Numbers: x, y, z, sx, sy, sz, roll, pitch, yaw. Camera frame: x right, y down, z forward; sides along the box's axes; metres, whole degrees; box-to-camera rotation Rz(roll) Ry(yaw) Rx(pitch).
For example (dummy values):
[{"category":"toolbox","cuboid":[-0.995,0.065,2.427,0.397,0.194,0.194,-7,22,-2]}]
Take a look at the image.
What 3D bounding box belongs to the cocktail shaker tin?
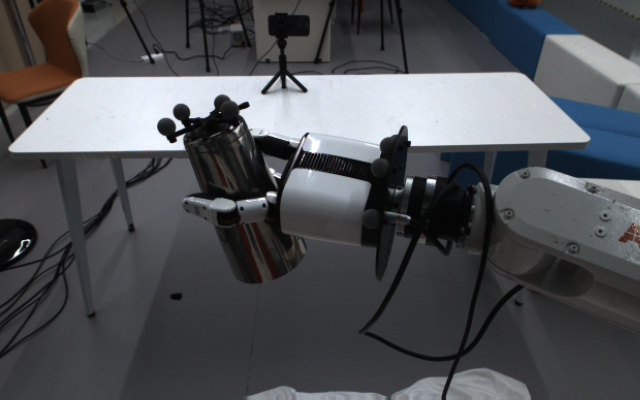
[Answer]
[{"category":"cocktail shaker tin","cuboid":[-0.083,-0.002,0.531,0.093,0.170,0.093,-15,29,8]}]
